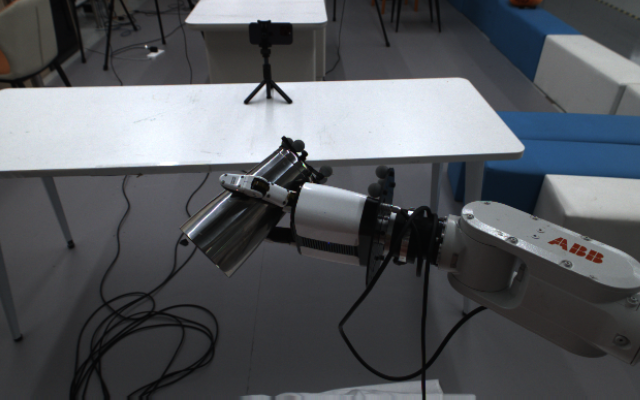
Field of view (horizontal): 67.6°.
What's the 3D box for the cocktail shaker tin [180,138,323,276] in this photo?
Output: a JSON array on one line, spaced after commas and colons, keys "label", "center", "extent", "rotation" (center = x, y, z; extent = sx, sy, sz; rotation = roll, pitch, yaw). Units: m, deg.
[{"label": "cocktail shaker tin", "center": [-0.091, 0.006, 0.642], "extent": [0.170, 0.093, 0.093], "rotation": [-43, 50, -14]}]
